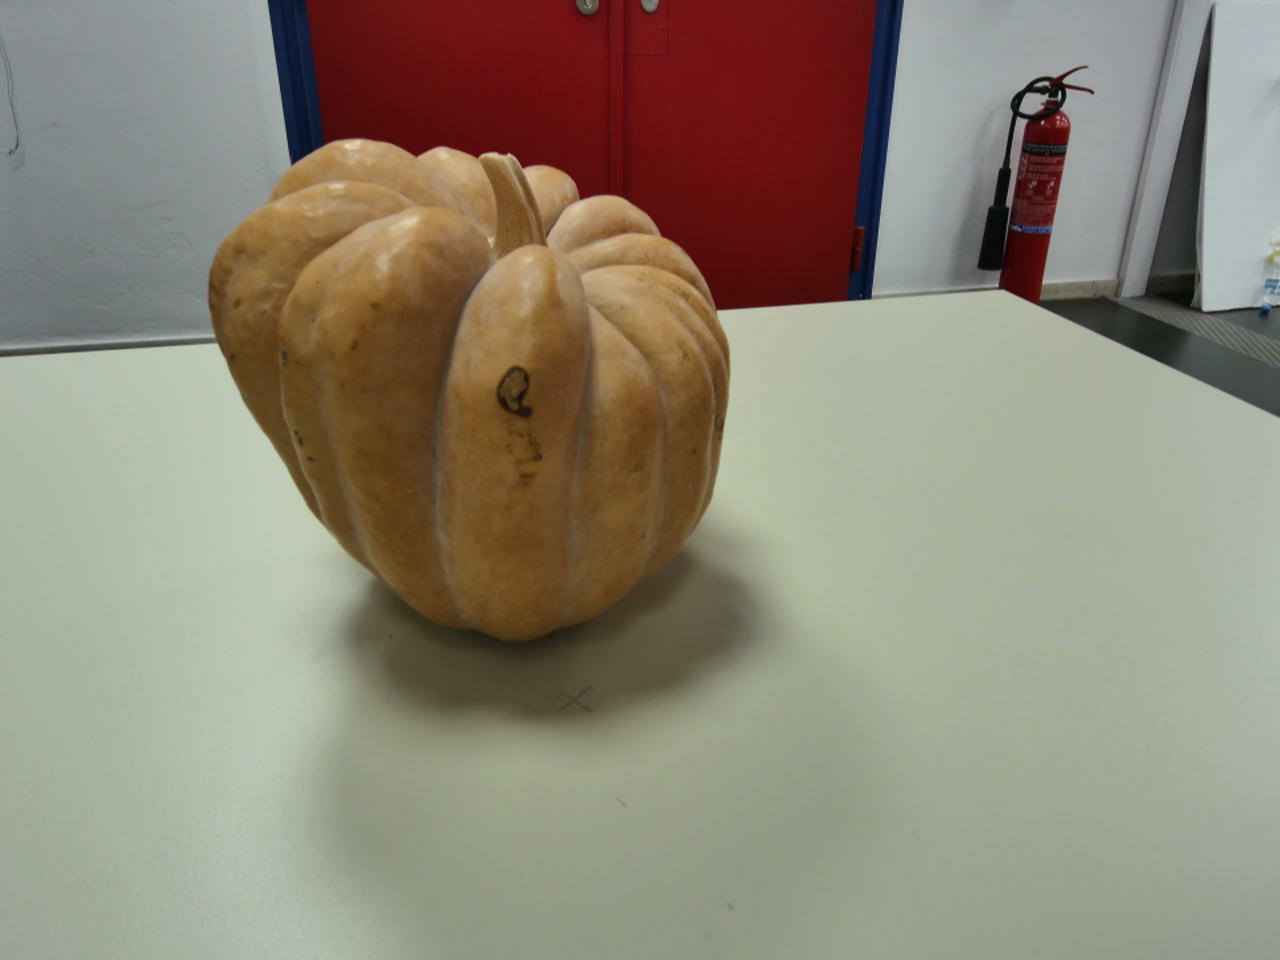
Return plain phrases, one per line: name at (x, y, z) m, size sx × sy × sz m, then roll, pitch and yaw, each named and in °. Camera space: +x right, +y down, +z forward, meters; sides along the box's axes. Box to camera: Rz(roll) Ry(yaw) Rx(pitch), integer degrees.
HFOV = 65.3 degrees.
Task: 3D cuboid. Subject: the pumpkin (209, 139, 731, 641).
pumpkin at (-0.058, -0.037, 0.386) m, size 0.199 × 0.177 × 0.198 m, roll 0°, pitch 25°, yaw 0°
